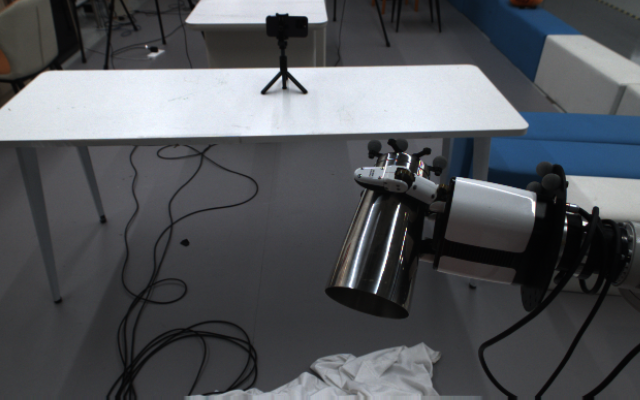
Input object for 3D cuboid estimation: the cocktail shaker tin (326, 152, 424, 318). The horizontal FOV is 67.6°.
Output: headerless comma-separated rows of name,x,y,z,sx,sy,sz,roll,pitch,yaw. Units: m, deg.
cocktail shaker tin,0.076,0.032,0.540,0.093,0.093,0.170,13,65,15
